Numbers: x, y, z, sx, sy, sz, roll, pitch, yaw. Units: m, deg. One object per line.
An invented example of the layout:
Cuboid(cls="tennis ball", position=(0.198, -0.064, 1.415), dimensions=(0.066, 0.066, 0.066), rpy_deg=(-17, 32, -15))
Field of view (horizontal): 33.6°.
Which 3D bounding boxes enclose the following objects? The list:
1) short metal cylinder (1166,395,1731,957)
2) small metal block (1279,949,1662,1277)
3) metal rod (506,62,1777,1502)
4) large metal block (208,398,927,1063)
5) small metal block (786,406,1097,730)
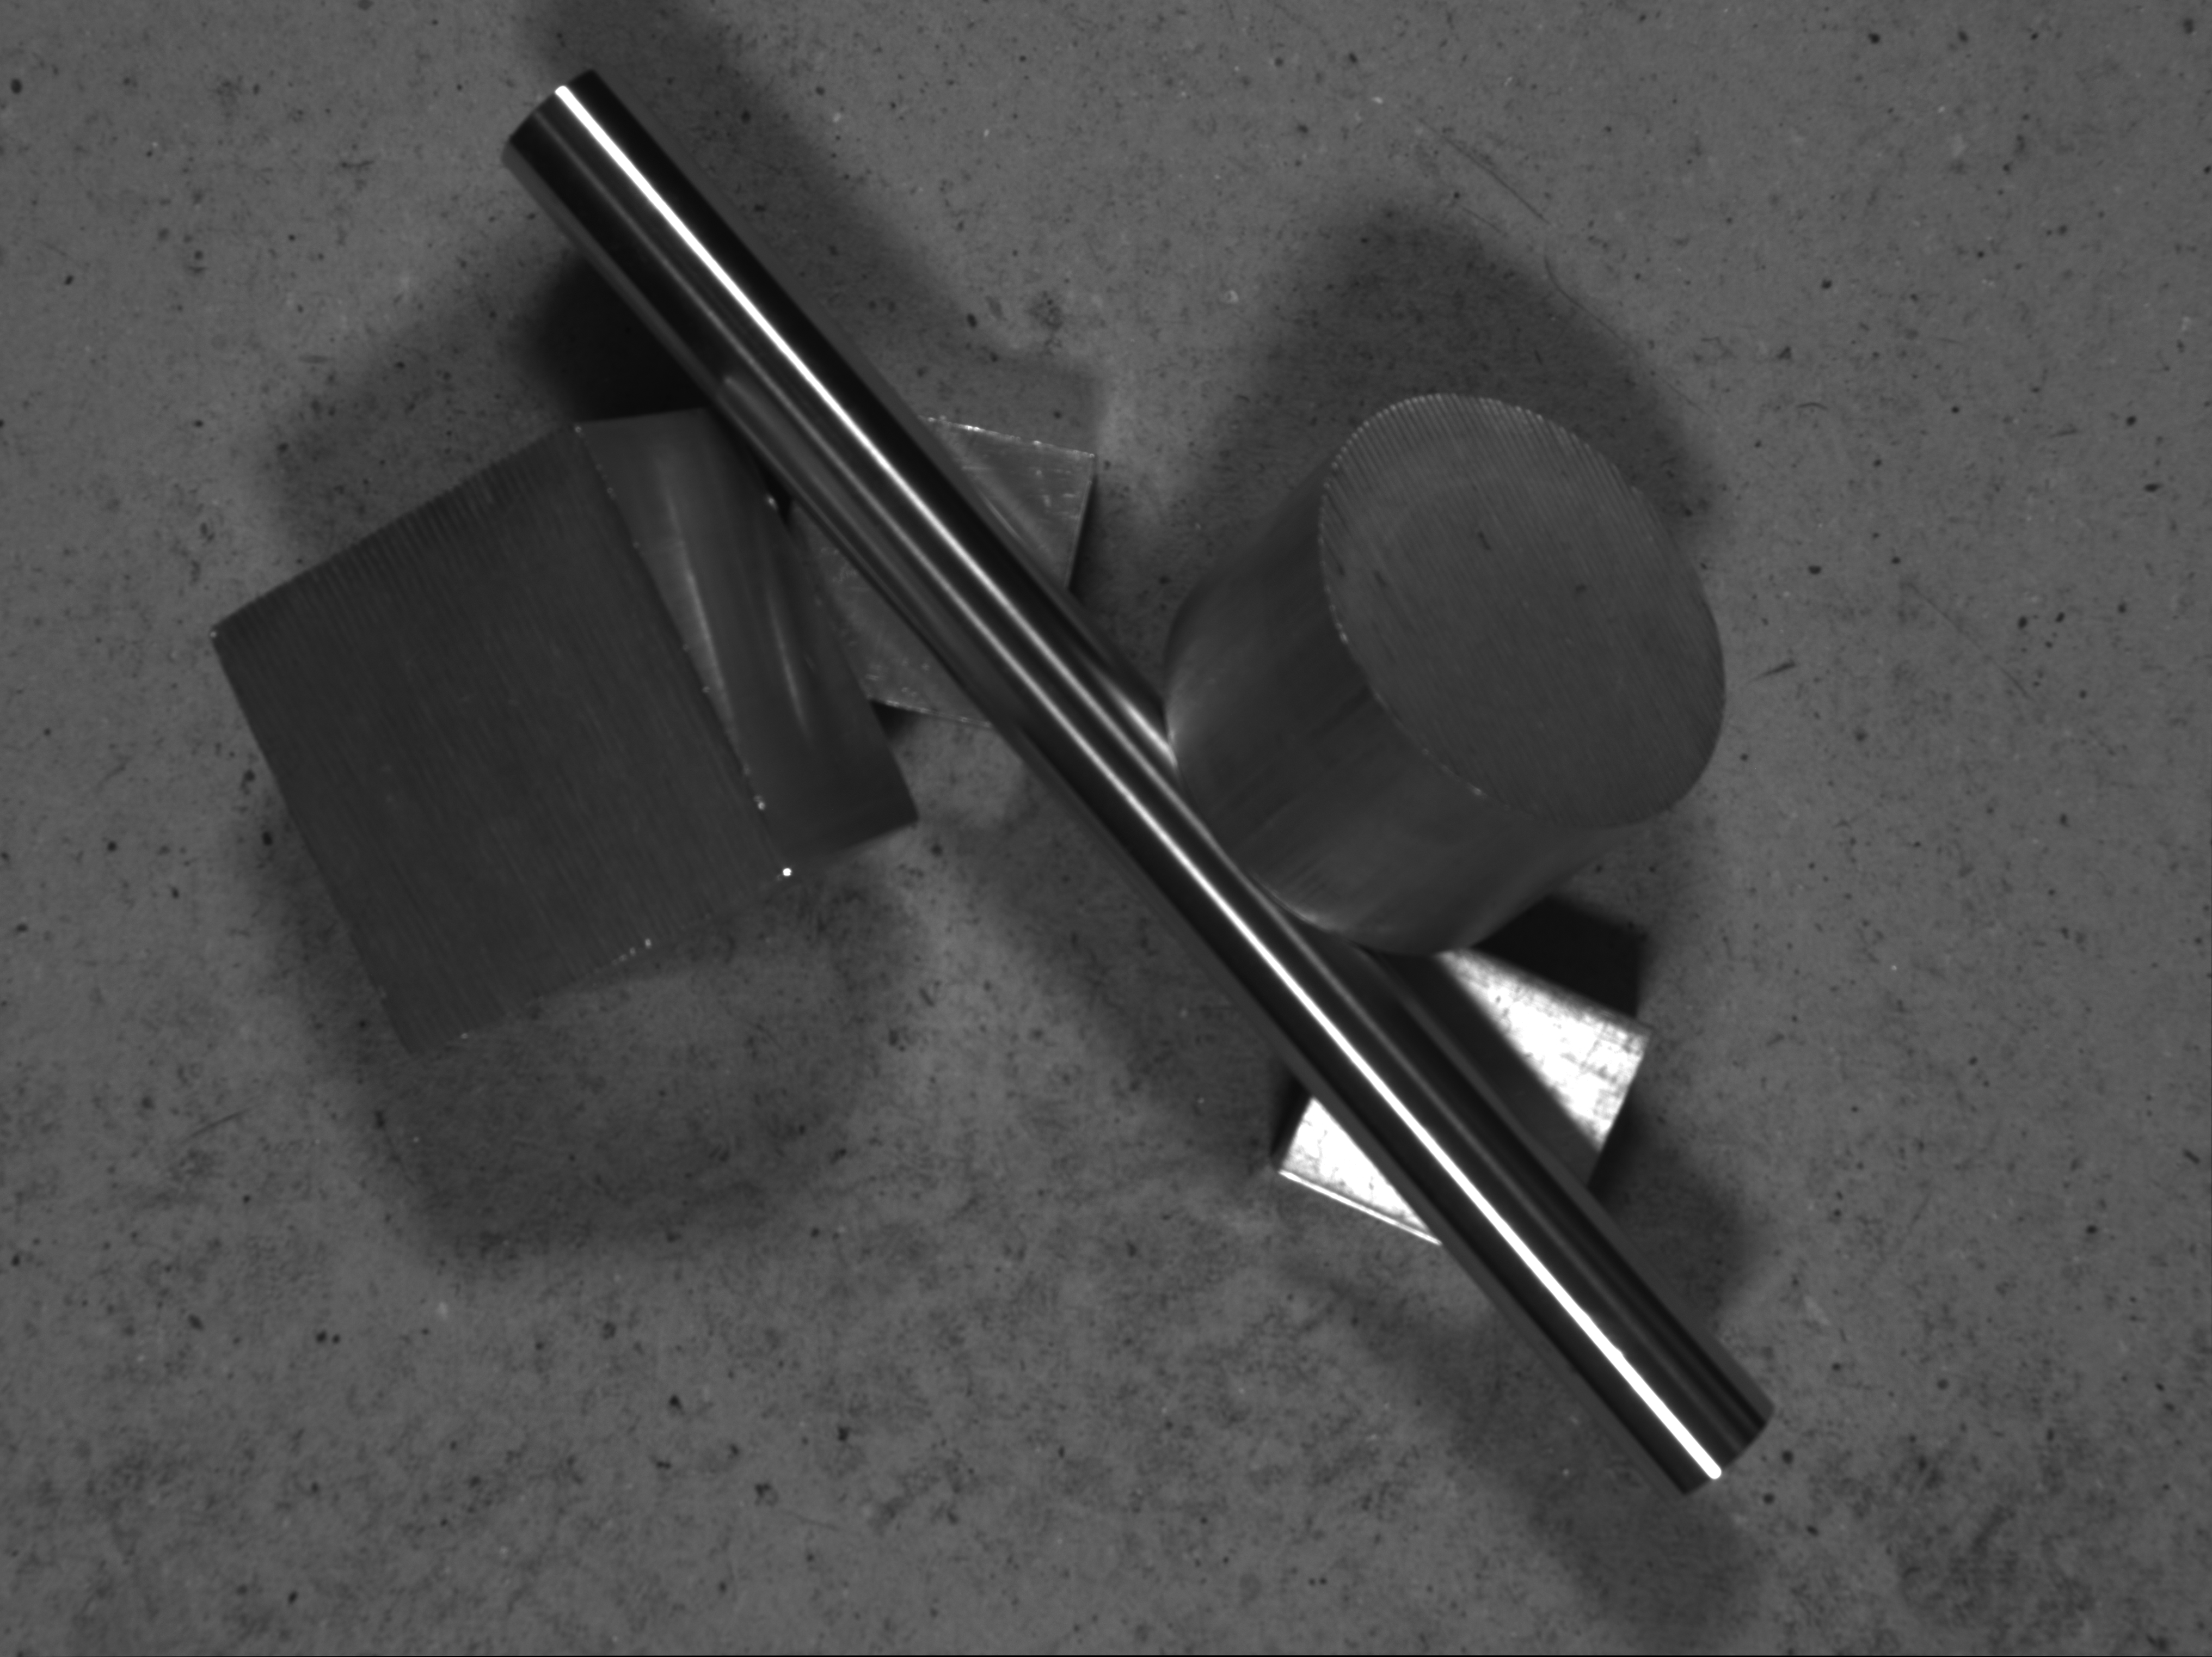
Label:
Cuboid(cls="short metal cylinder", position=(0.057, -0.025, 0.613), dimensions=(0.080, 0.050, 0.080), rpy_deg=(16, 57, -25))
Cuboid(cls="small metal block", position=(0.063, 0.047, 0.646), dimensions=(0.050, 0.025, 0.050), rpy_deg=(24, 90, 0))
Cuboid(cls="metal rod", position=(0.006, -0.008, 0.621), dimensions=(0.025, 0.025, 0.300), rpy_deg=(-41, 90, 0))
Cuboid(cls="large metal block", position=(-0.090, -0.017, 0.616), dimensions=(0.080, 0.050, 0.080), rpy_deg=(-25, 91, 23))
Cuboid(cls="small metal block", position=(-0.031, -0.045, 0.645), dimensions=(0.050, 0.025, 0.050), rpy_deg=(12, 90, 0))
